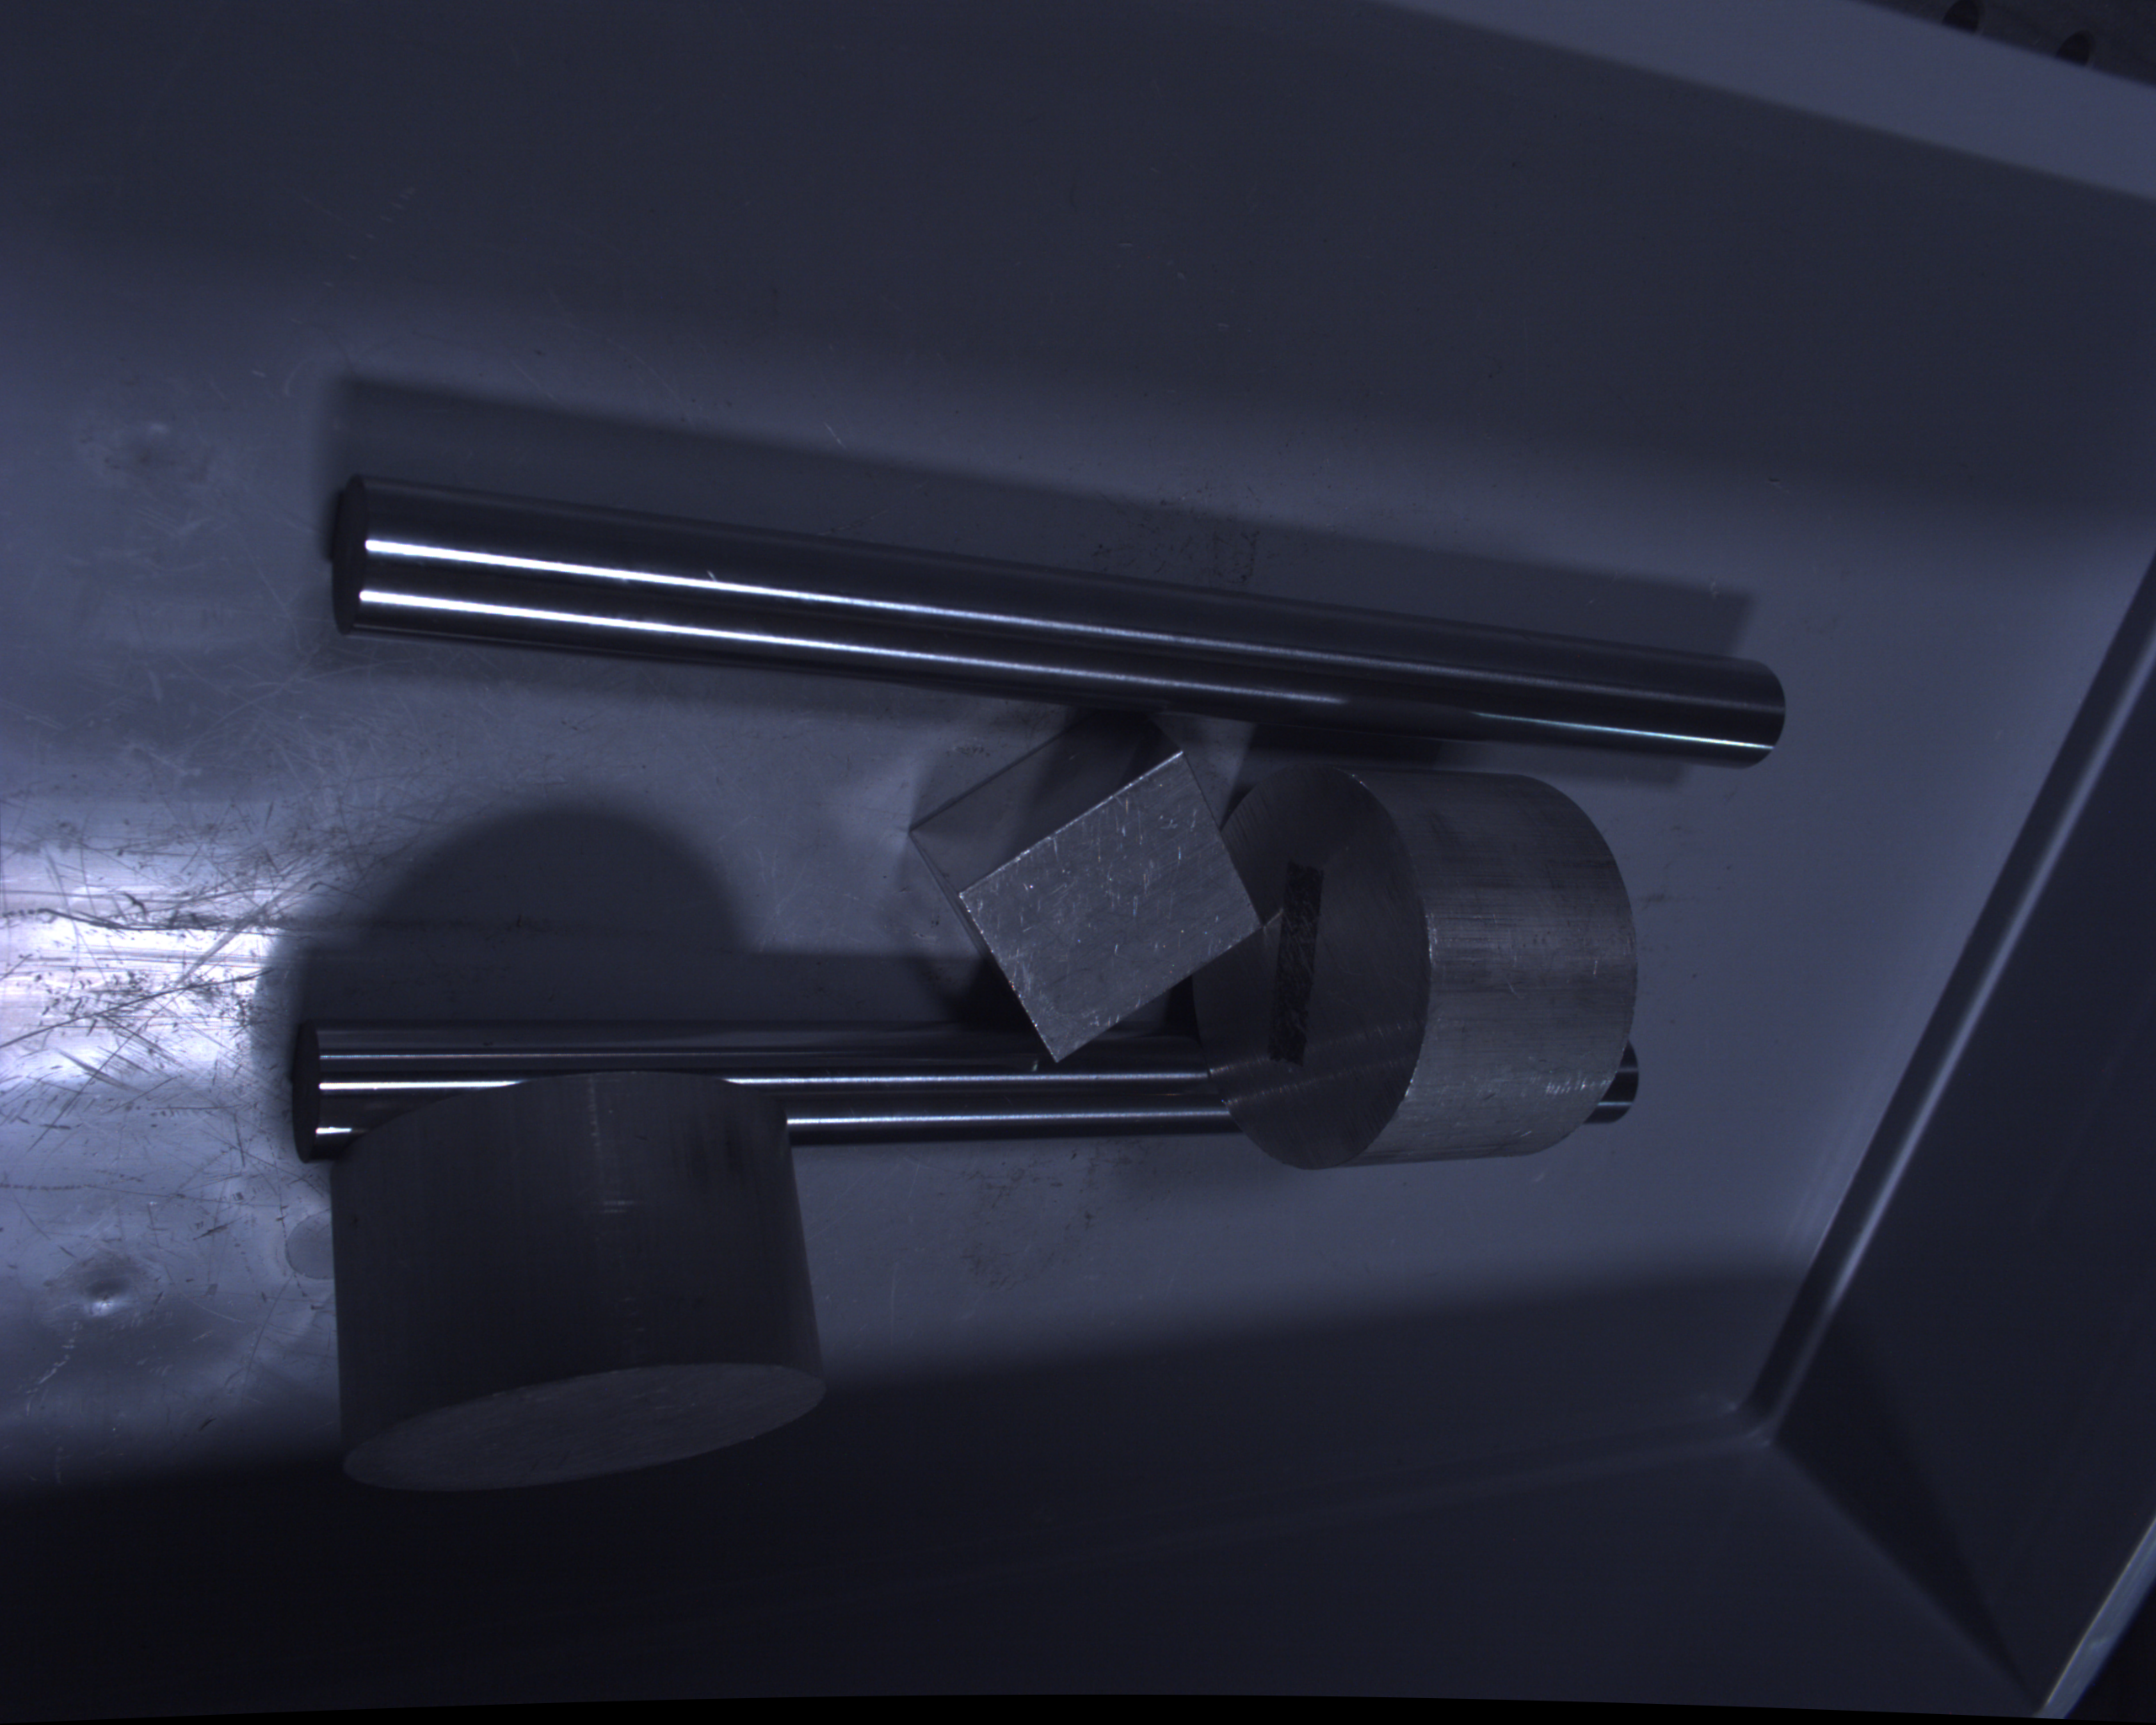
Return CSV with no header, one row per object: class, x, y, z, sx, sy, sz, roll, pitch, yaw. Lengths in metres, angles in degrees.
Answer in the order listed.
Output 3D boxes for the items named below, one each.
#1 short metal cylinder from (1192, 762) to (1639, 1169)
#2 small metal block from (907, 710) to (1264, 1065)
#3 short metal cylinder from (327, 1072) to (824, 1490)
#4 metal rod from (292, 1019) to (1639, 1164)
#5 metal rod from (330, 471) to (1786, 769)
short metal cylinder,0.066,0.021,0.422,0.050,0.080,0.079,2,118,-30
small metal block,0.002,0.004,0.412,0.050,0.025,0.050,-33,129,-7
short metal cylinder,-0.088,0.075,0.367,0.081,0.050,0.080,-10,155,-5
metal rod,-0.002,0.045,0.435,0.303,0.025,0.025,3,117,-30
metal rod,0.019,-0.040,0.393,0.303,0.025,0.025,3,117,-30
